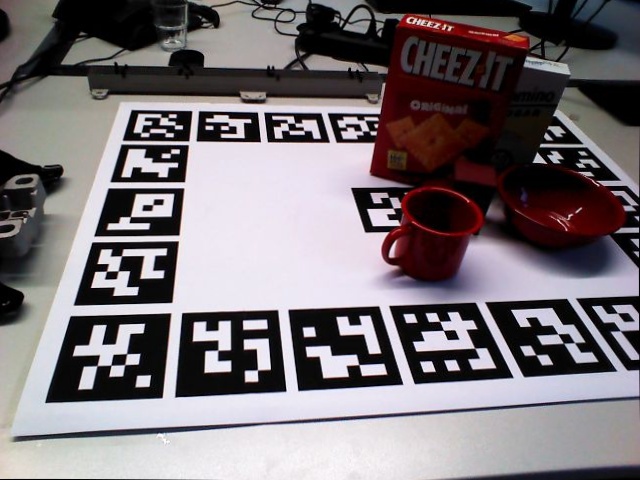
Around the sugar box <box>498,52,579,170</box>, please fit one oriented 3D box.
[{"bbox_3d":[0.286,-0.174,0.734,0.093,0.177,0.045,13,41,9],"label":"sugar box"}]

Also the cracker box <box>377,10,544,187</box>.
[{"bbox_3d":[0.179,-0.176,0.699,0.165,0.214,0.071,19,40,14],"label":"cracker box"}]

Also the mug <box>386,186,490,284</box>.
[{"bbox_3d":[0.130,-0.003,0.586,0.117,0.082,0.093,-8,34,-13],"label":"mug"}]

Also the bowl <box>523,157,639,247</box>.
[{"bbox_3d":[0.326,-0.041,0.662,0.162,0.055,0.161,3,41,-3],"label":"bowl"}]

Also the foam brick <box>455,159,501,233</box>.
[{"bbox_3d":[0.201,-0.057,0.672,0.053,0.078,0.051,9,40,5],"label":"foam brick"}]
